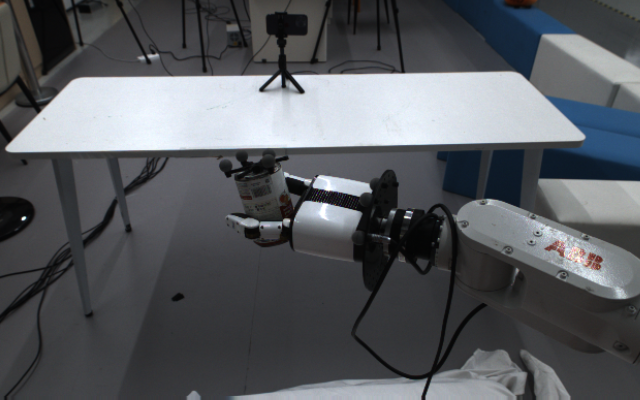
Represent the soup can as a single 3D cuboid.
[{"bbox_3d":[-0.071,0.005,0.666,0.067,0.101,0.067,-13,20,5],"label":"soup can"}]
